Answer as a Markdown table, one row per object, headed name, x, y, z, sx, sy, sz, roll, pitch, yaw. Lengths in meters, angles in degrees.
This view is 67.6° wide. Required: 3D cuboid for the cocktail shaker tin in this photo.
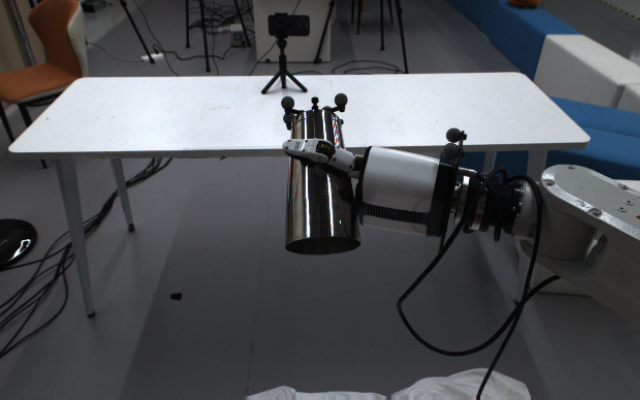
| name | x | y | z | sx | sy | sz | roll | pitch | yaw |
| --- | --- | --- | --- | --- | --- | --- | --- | --- | --- |
| cocktail shaker tin | -0.001 | -0.023 | 0.609 | 0.093 | 0.093 | 0.170 | -2 | 70 | -5 |
